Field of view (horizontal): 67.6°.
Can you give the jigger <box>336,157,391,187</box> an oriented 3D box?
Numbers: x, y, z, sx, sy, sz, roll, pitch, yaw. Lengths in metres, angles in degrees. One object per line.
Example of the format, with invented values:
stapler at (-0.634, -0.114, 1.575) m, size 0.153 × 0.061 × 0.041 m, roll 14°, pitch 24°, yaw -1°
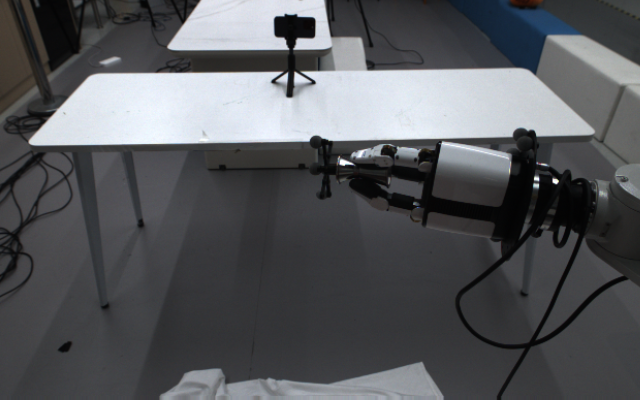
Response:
jigger at (0.066, -0.043, 0.641) m, size 0.071 × 0.043 × 0.043 m, roll 3°, pitch 34°, yaw 13°
